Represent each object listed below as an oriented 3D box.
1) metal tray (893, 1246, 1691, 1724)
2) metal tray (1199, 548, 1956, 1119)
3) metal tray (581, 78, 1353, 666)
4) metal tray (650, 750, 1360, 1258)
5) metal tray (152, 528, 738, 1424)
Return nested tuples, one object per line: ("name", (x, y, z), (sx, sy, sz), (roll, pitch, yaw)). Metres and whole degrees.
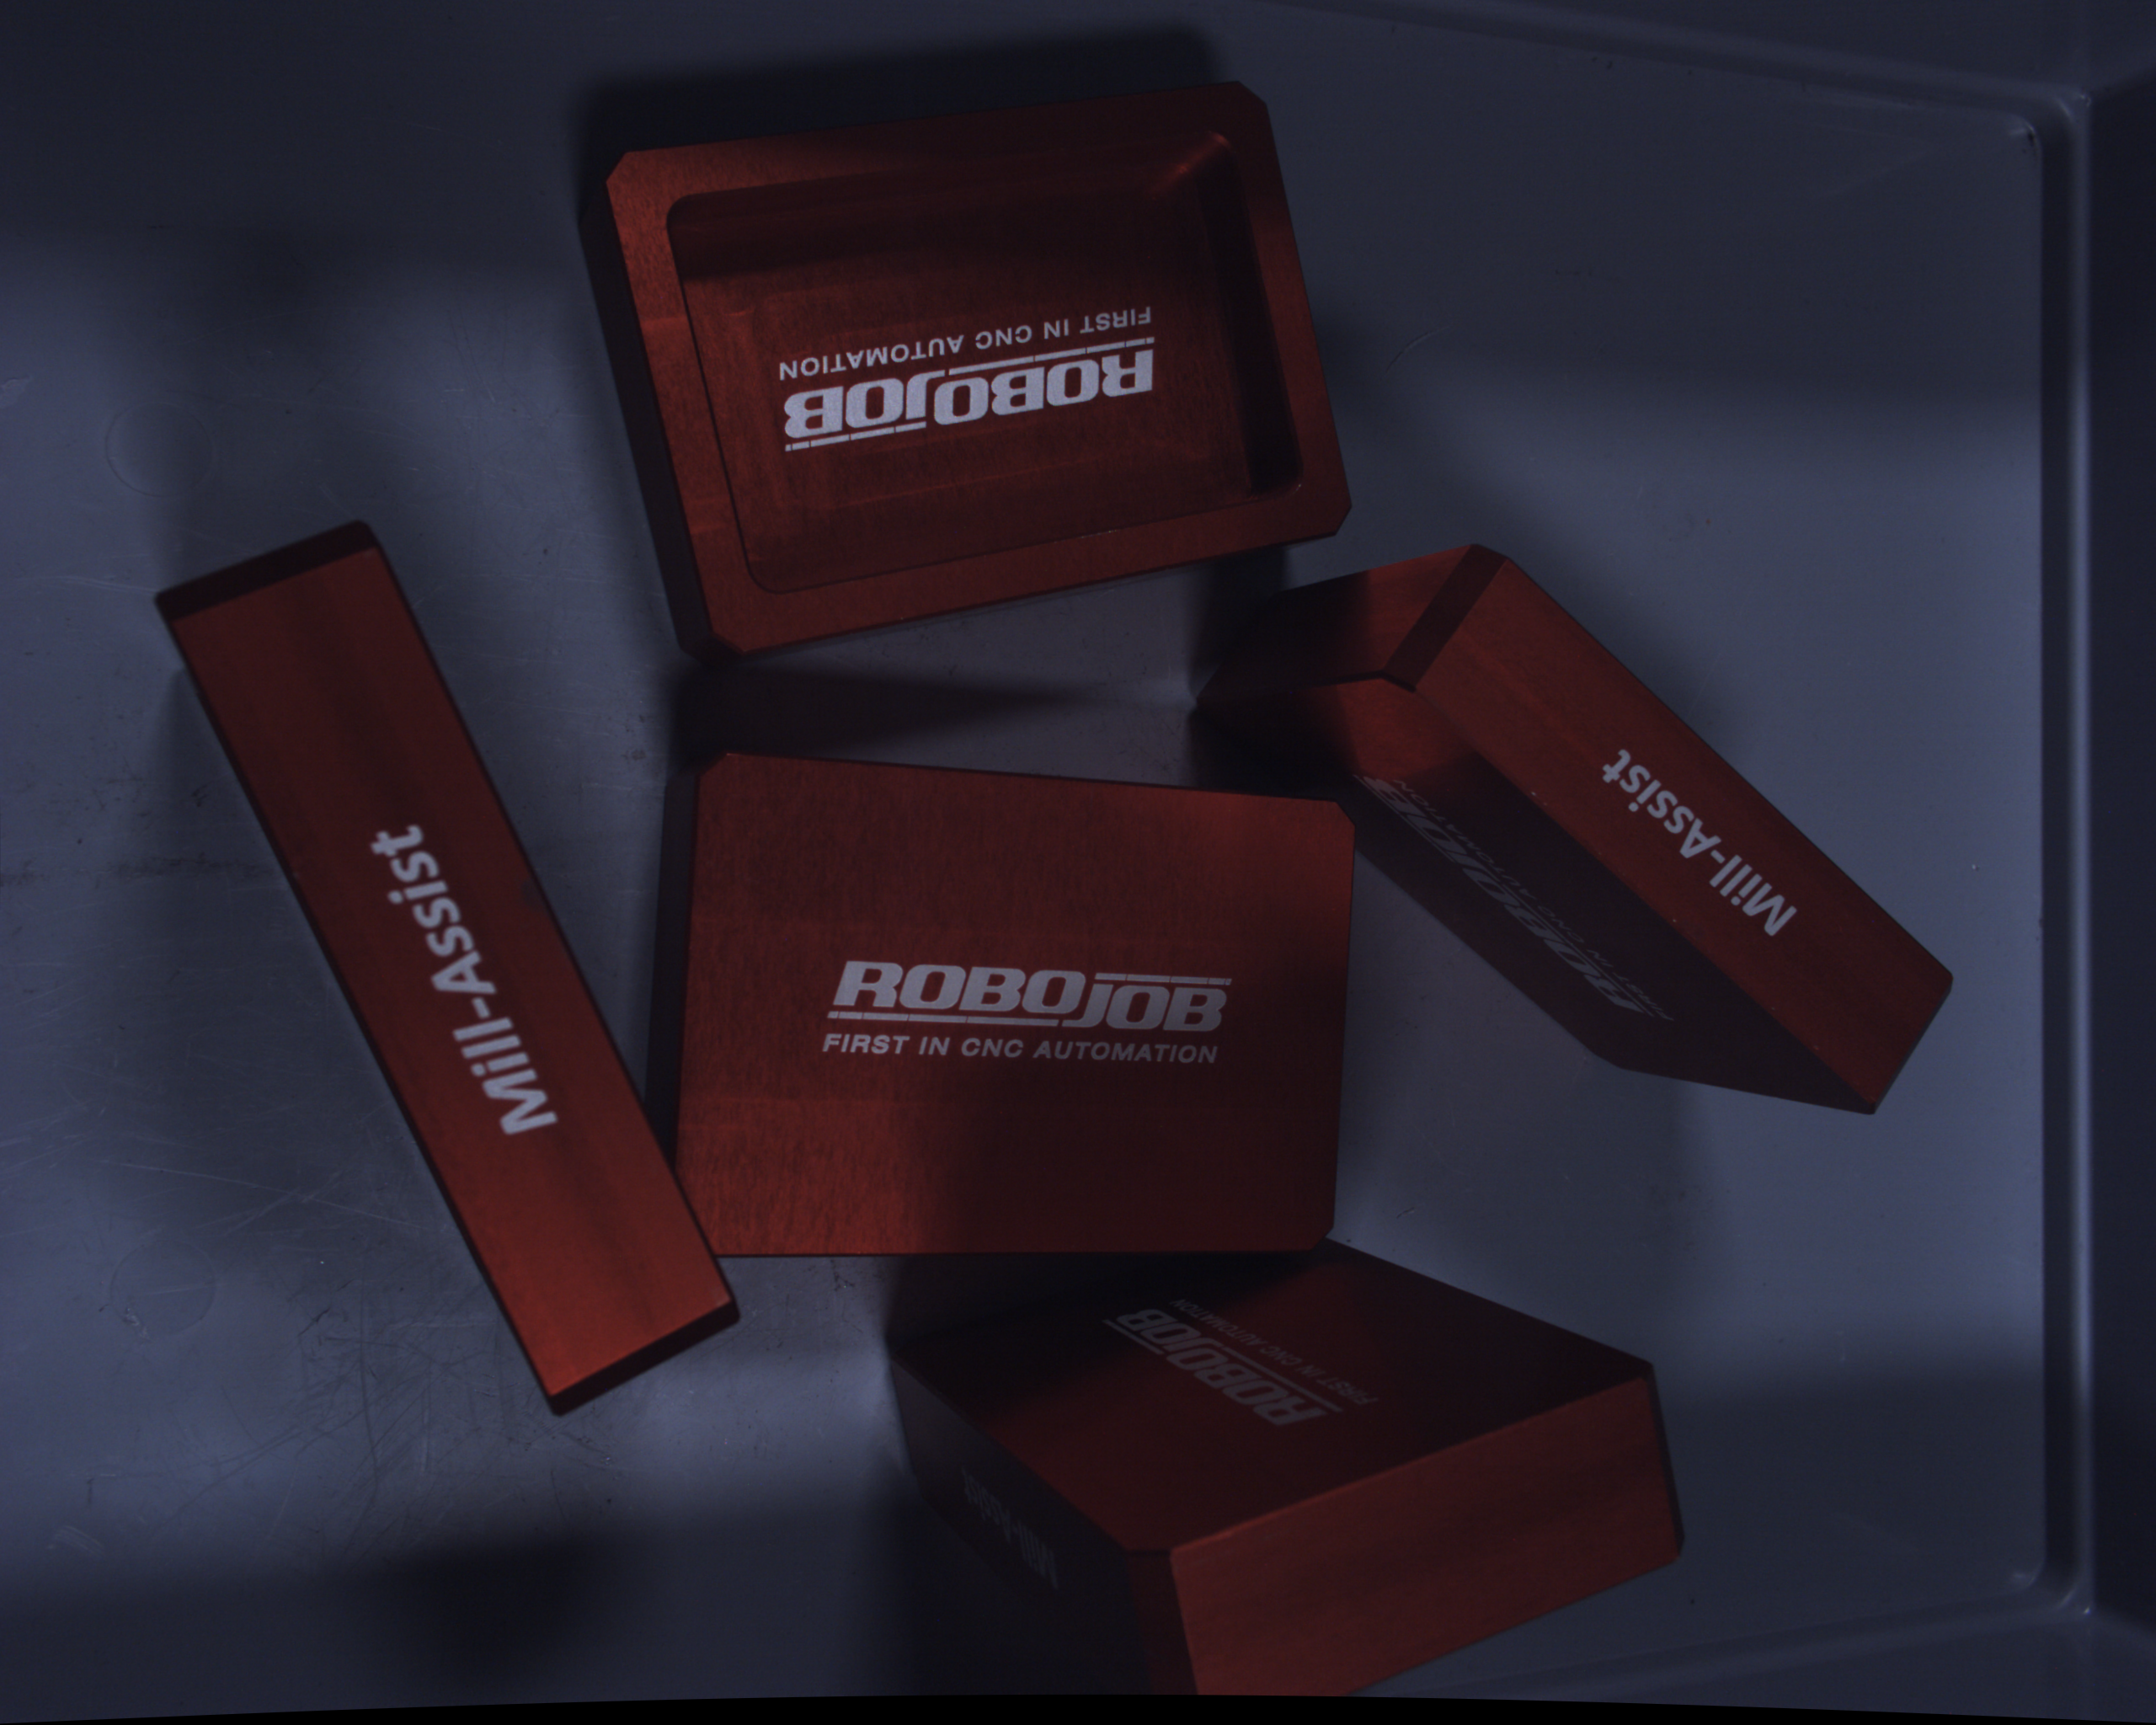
("metal tray", (0.030, 0.101, 0.364), (0.091, 0.130, 0.030), (-13, 95, -20))
("metal tray", (0.095, -0.004, 0.410), (0.130, 0.090, 0.030), (39, 78, -16))
("metal tray", (-0.019, -0.095, 0.400), (0.131, 0.030, 0.089), (-14, 95, -20))
("metal tray", (-0.013, 0.028, 0.401), (0.131, 0.030, 0.089), (4, 89, -21))
("metal tray", (-0.103, 0.017, 0.336), (0.030, 0.090, 0.129), (-26, 99, -19))
